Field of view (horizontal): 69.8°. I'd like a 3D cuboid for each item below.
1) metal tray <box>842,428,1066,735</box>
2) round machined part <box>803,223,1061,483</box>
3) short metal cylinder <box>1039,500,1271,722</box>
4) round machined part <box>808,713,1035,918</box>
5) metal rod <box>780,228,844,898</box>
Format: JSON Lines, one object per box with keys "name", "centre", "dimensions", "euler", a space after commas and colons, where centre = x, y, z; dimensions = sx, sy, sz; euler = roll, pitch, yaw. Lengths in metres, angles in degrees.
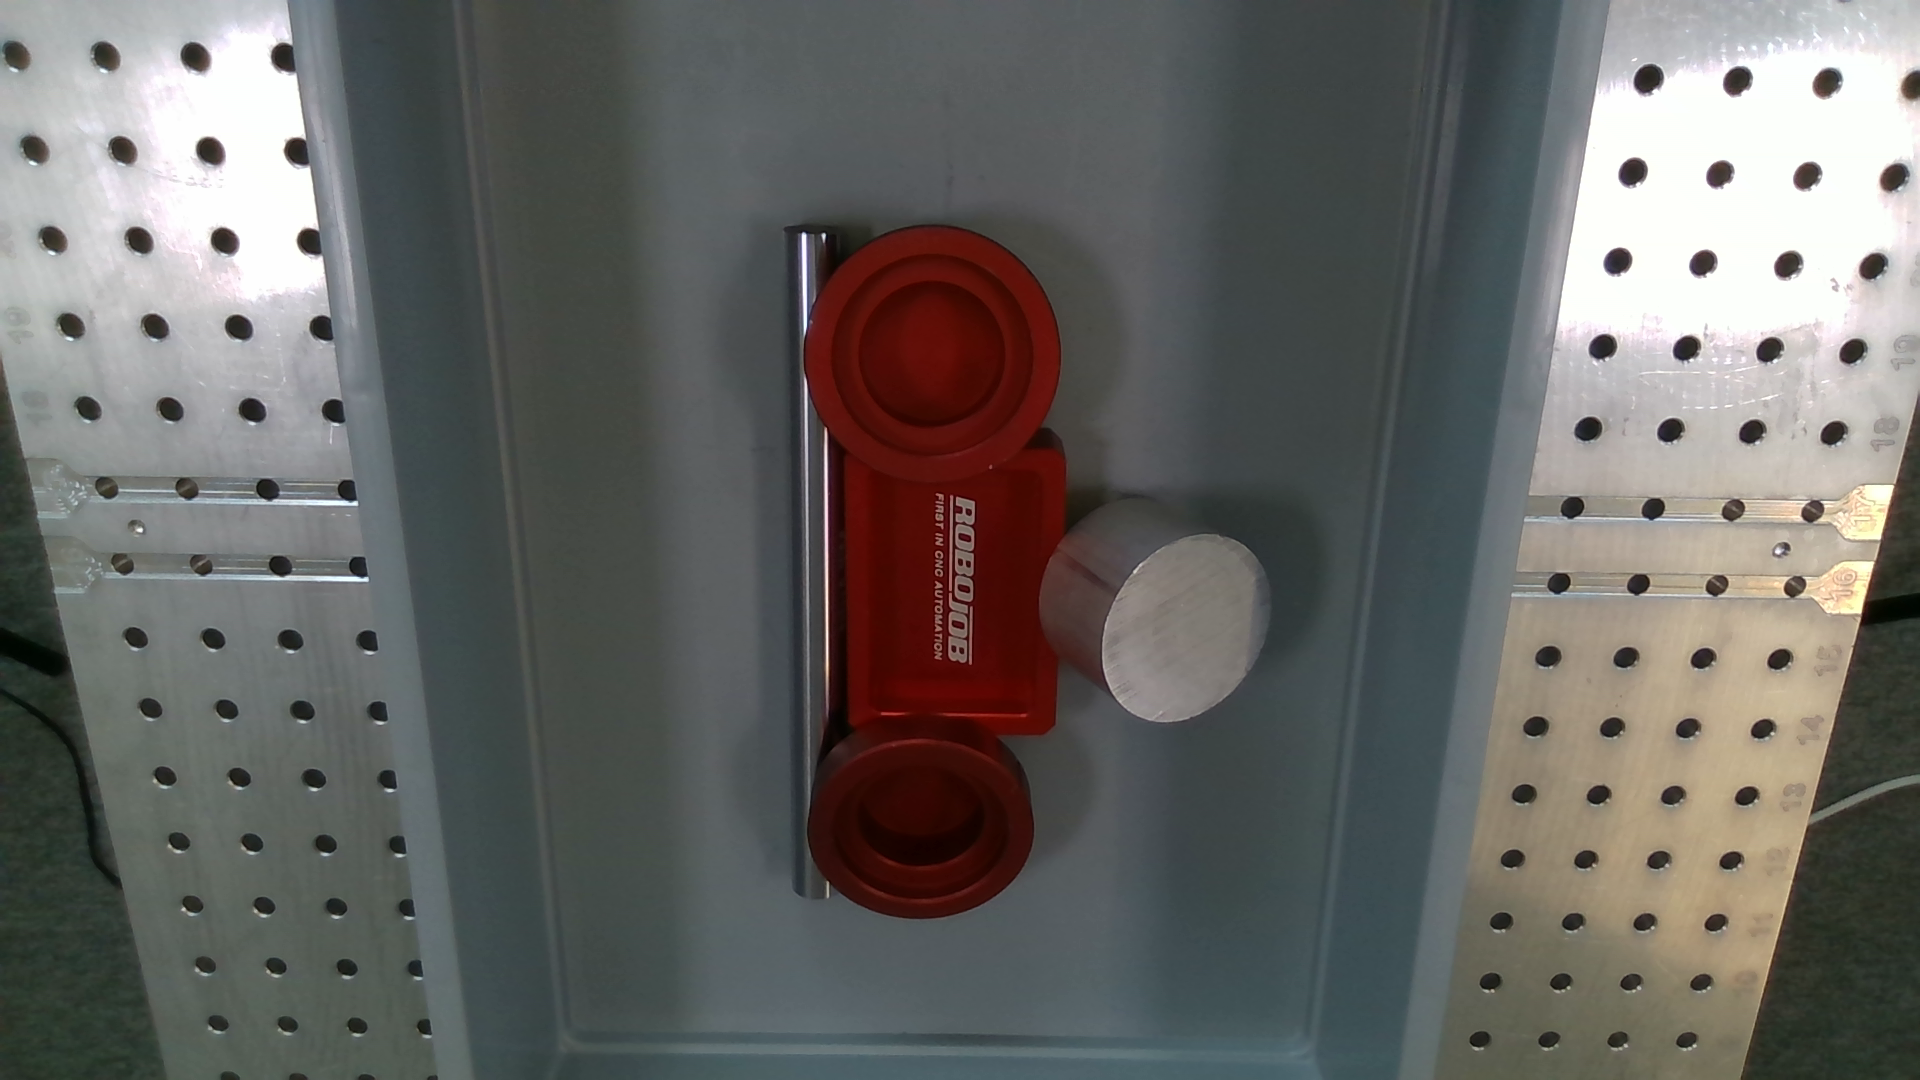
{"name": "metal tray", "centre": [-0.003, 0.018, 0.587], "dimensions": [0.090, 0.030, 0.130], "euler": [1, 111, 0]}
{"name": "round machined part", "centre": [-0.011, -0.074, 0.542], "dimensions": [0.098, 0.042, 0.098], "euler": [-1, 102, -2]}
{"name": "short metal cylinder", "centre": [0.080, 0.028, 0.565], "dimensions": [0.080, 0.050, 0.080], "euler": [-10, 112, -25]}
{"name": "round machined part", "centre": [-0.017, 0.117, 0.613], "dimensions": [0.098, 0.042, 0.098], "euler": [-1, 118, -1]}
{"name": "metal rod", "centre": [-0.062, 0.019, 0.590], "dimensions": [0.025, 0.025, 0.301], "euler": [2, 110, 0]}
